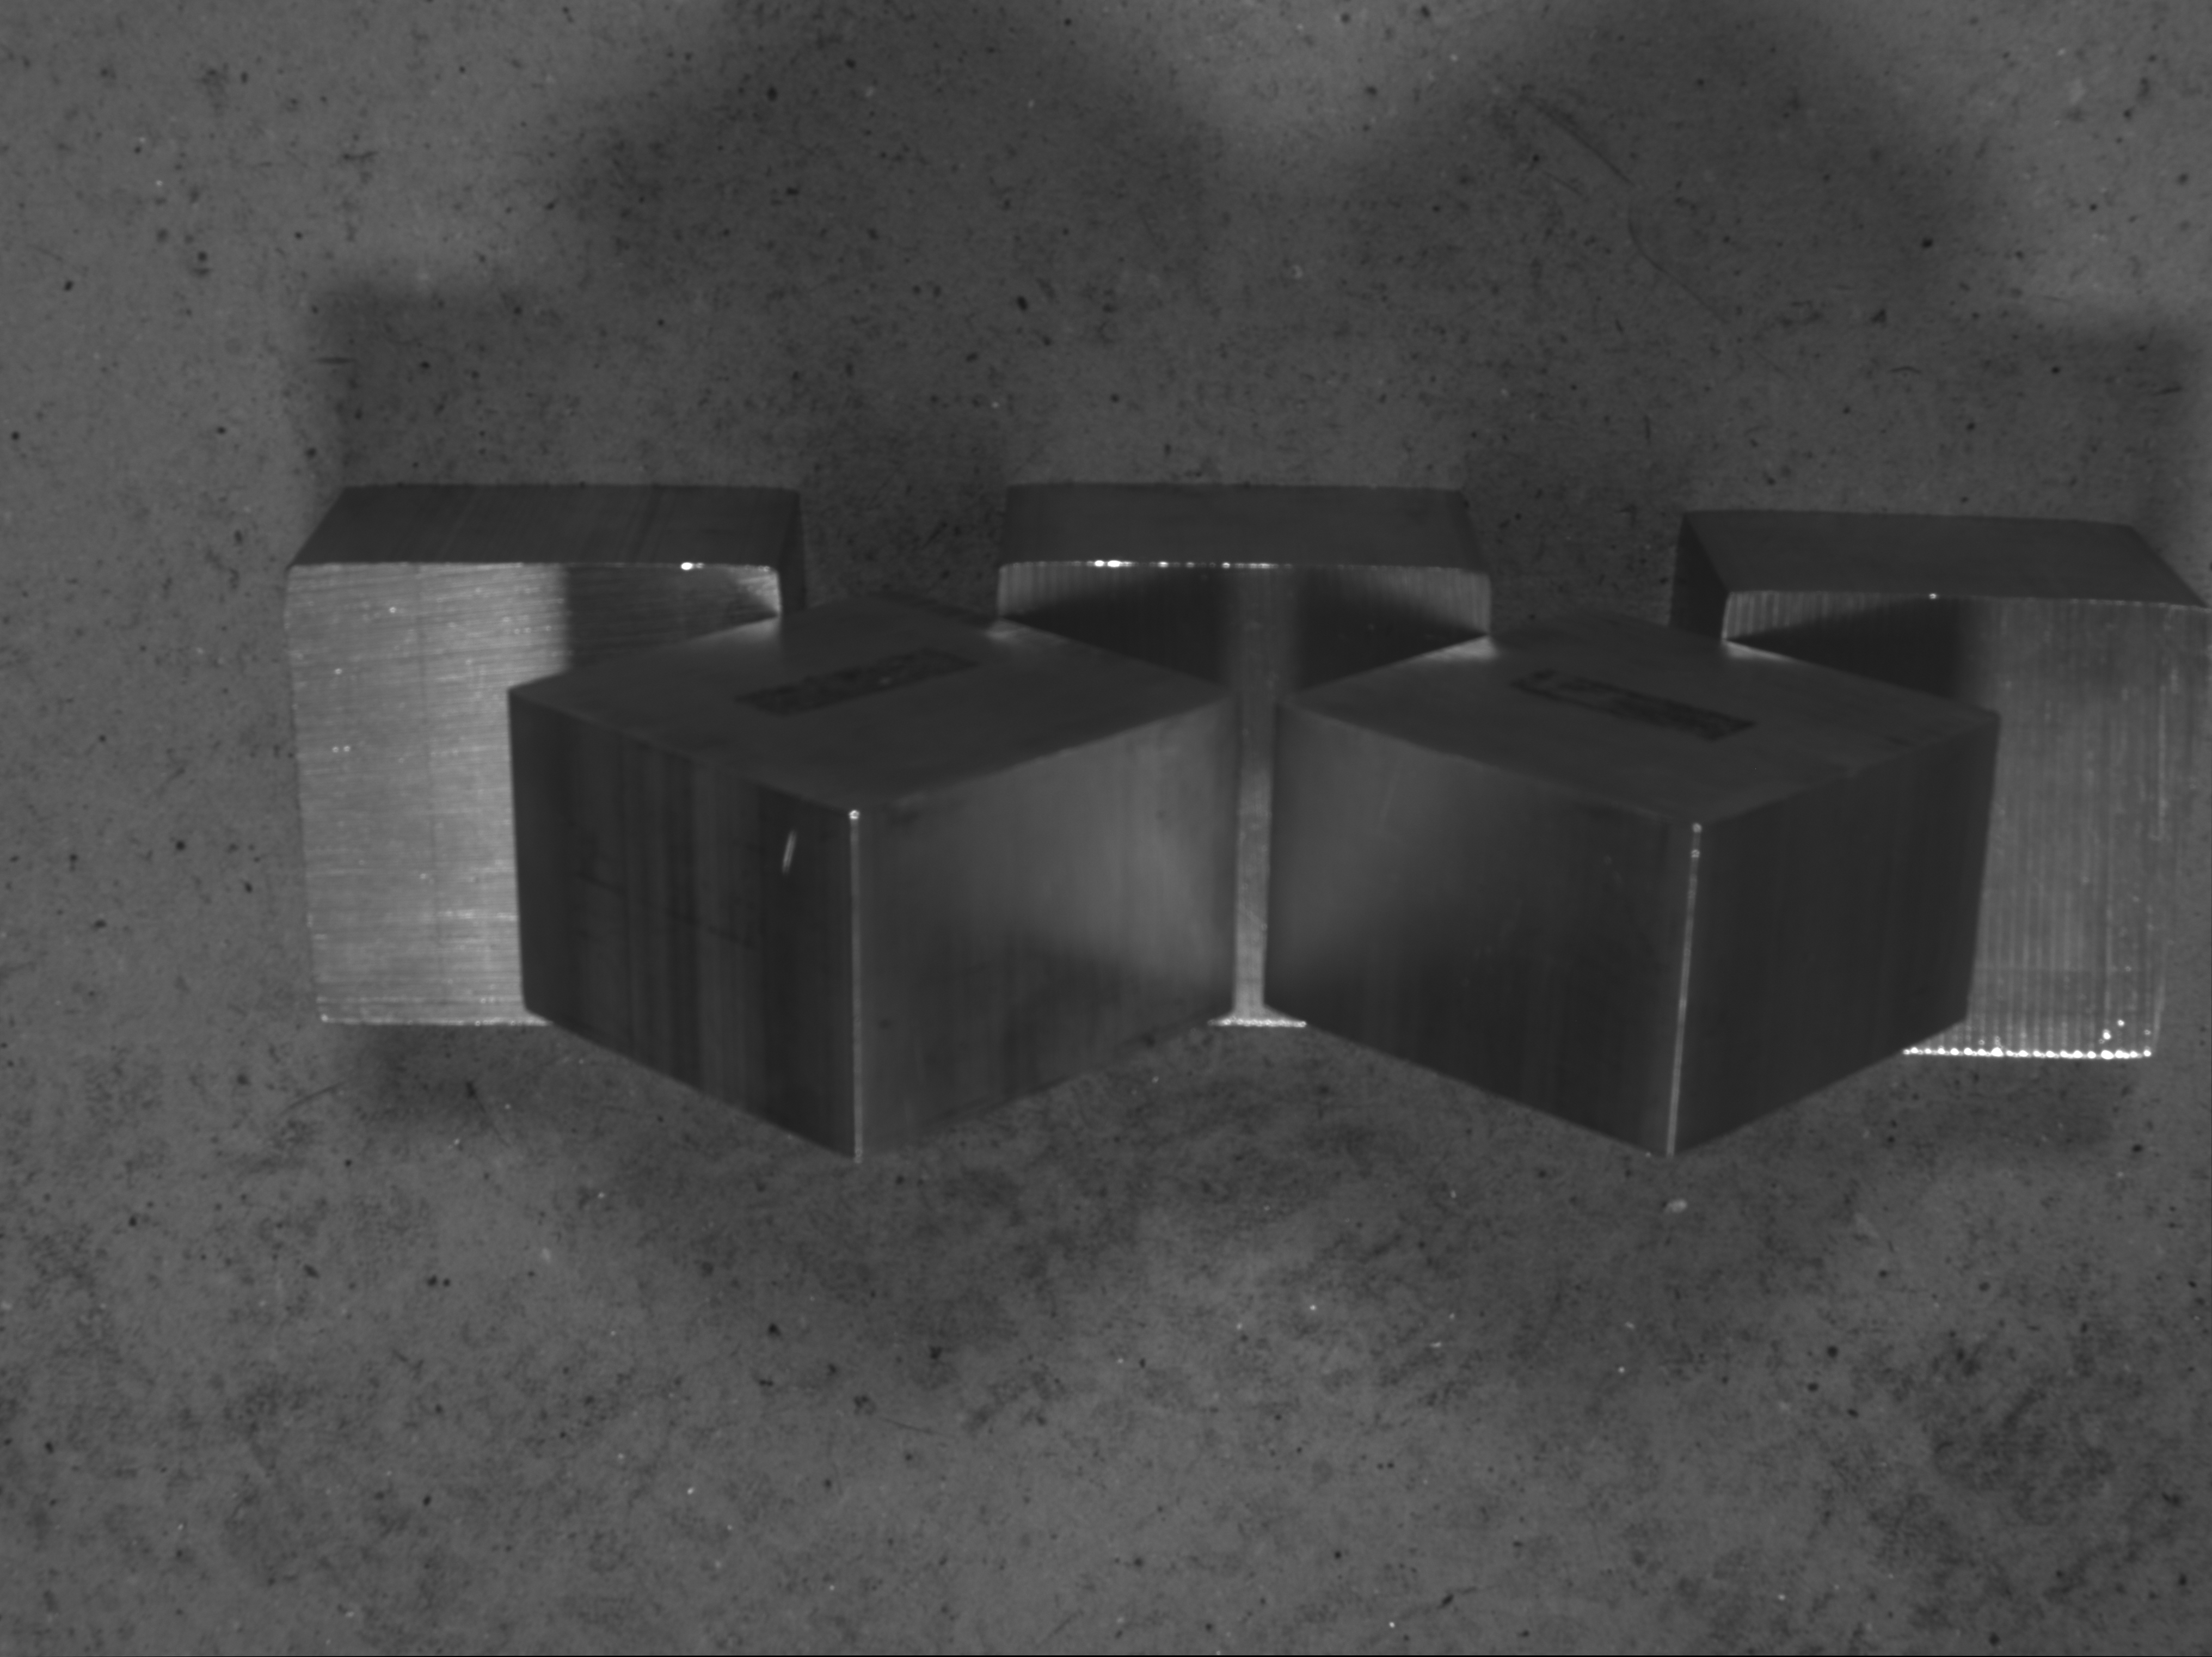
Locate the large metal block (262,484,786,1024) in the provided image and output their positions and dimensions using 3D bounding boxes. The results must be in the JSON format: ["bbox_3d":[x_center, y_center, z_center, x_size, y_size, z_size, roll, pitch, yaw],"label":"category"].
[{"bbox_3d":[-0.096,-0.013,0.624,0.080,0.050,0.080,0,110,-1],"label":"large metal block"}]

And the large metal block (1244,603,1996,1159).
[{"bbox_3d":[0.079,0.005,0.566,0.080,0.080,0.050,19,116,41],"label":"large metal block"}]

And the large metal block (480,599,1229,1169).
[{"bbox_3d":[-0.038,0.005,0.562,0.080,0.080,0.050,-20,118,-42],"label":"large metal block"}]

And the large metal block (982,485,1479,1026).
[{"bbox_3d":[0.019,-0.013,0.626,0.080,0.050,0.080,1,110,-1],"label":"large metal block"}]

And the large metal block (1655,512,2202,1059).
[{"bbox_3d":[0.136,-0.008,0.629,0.080,0.050,0.080,1,110,-1],"label":"large metal block"}]
